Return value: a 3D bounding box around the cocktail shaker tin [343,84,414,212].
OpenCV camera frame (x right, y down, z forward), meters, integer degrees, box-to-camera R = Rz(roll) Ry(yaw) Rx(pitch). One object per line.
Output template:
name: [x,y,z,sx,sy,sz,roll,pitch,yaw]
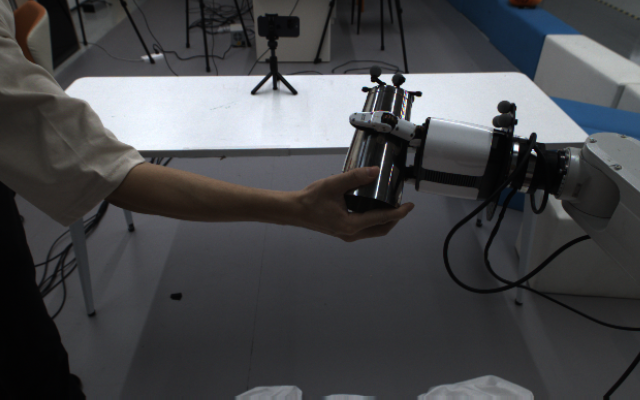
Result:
cocktail shaker tin: [0.084,-0.073,0.681,0.093,0.093,0.170,9,74,10]
